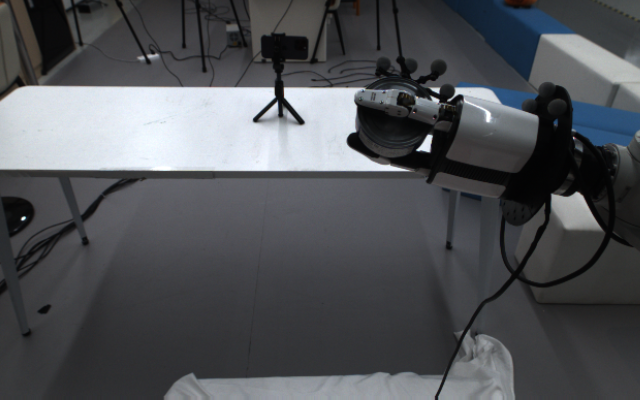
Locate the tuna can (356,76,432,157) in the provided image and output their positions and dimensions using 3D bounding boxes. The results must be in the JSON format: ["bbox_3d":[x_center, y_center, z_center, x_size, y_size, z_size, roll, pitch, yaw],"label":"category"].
[{"bbox_3d":[0.084,-0.095,0.543,0.085,0.034,0.085,0,72,0],"label":"tuna can"}]
